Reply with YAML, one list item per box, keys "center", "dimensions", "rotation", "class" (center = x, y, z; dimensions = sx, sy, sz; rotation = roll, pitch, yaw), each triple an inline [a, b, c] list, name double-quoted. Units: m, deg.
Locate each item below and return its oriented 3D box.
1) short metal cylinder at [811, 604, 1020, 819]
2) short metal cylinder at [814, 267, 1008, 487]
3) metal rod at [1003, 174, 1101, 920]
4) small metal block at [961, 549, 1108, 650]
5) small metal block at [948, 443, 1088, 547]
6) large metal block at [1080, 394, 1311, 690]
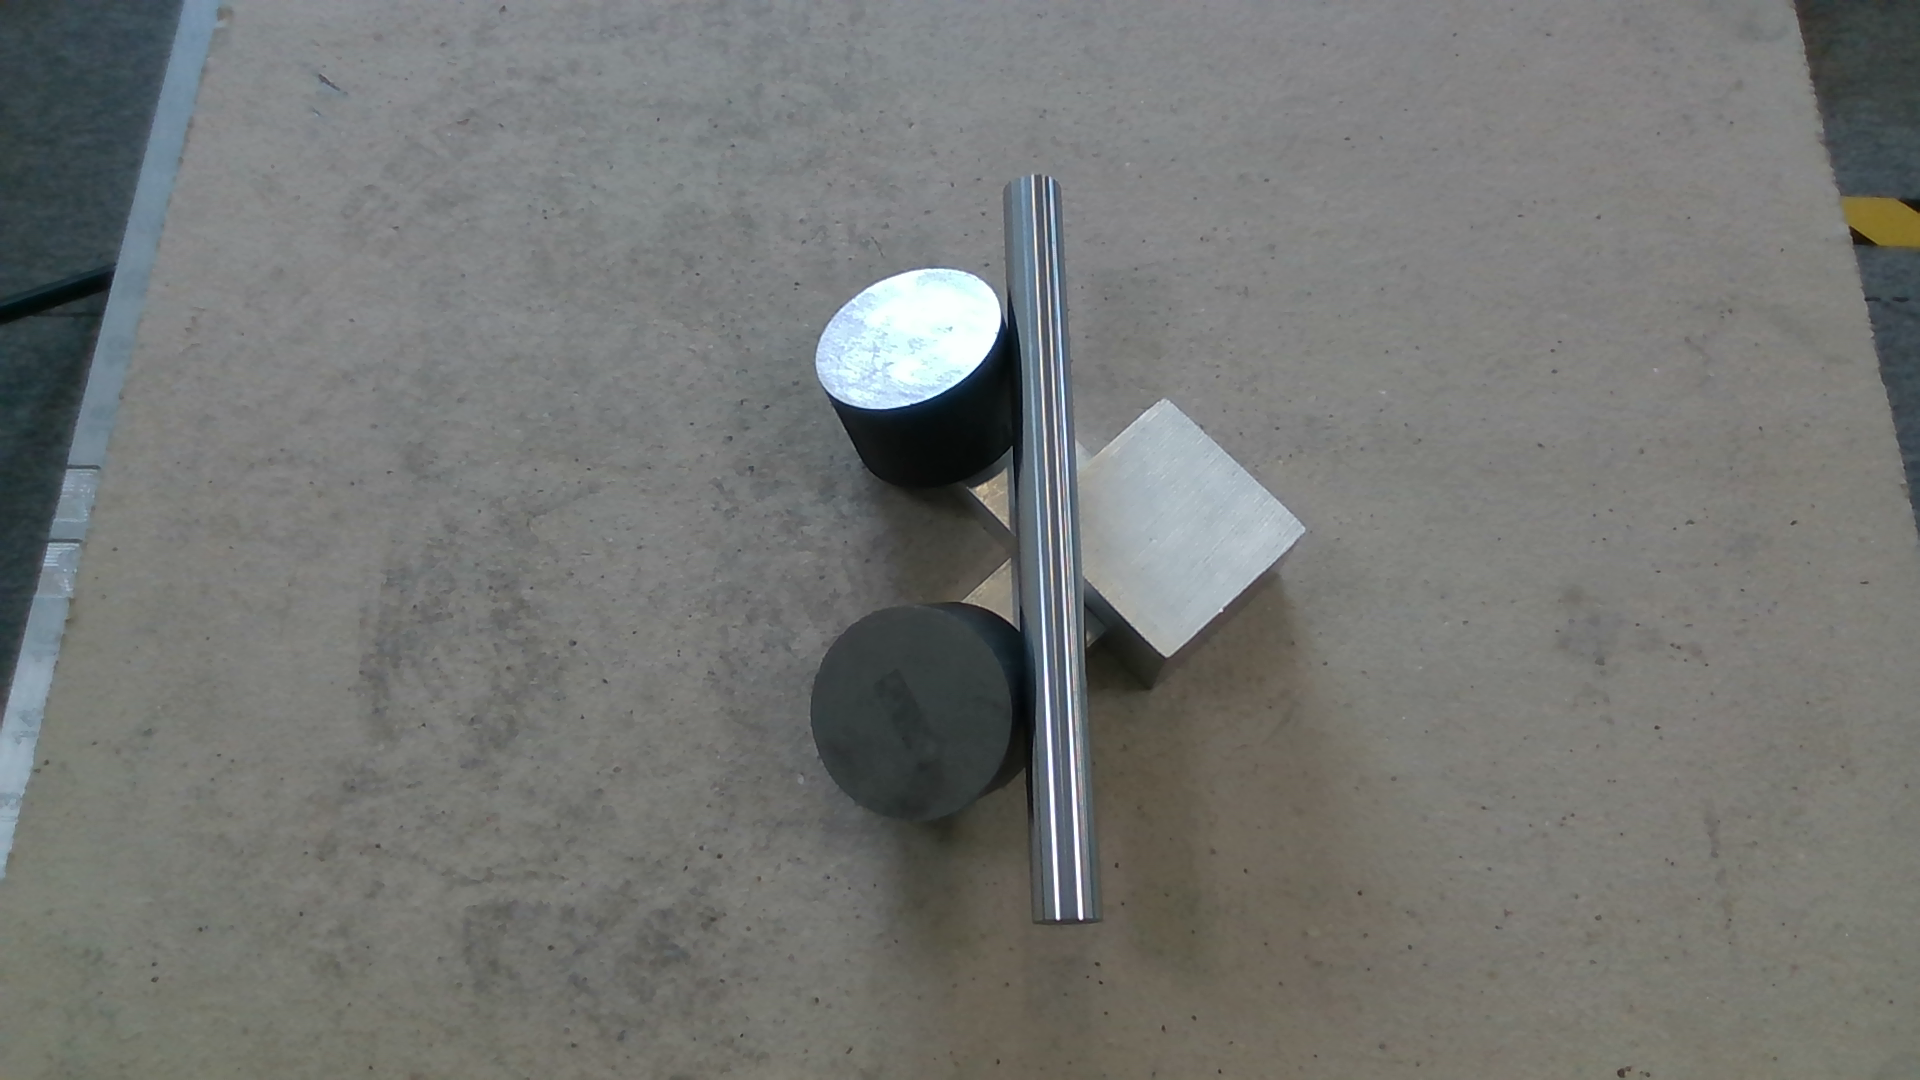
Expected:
- center: [-0.011, 0.065, 0.537]
  dimensions: [0.080, 0.050, 0.080]
  rotation: [0, 89, 18]
  class: "short metal cylinder"
- center: [-0.016, -0.069, 0.585]
  dimensions: [0.080, 0.050, 0.080]
  rotation: [-11, 50, 13]
  class: "short metal cylinder"
- center: [0.034, -0.008, 0.536]
  dimensions: [0.025, 0.025, 0.299]
  rotation: [-1, 70, -1]
  class: "metal rod"
- center: [0.025, 0.039, 0.574]
  dimensions: [0.050, 0.025, 0.050]
  rotation: [-42, 75, -13]
  class: "small metal block"
- center: [0.027, -0.028, 0.599]
  dimensions: [0.050, 0.025, 0.050]
  rotation: [-42, 76, -13]
  class: "small metal block"
- center: [0.083, 0.001, 0.573]
  dimensions: [0.080, 0.050, 0.080]
  rotation: [-41, 75, -13]
  class: "large metal block"
